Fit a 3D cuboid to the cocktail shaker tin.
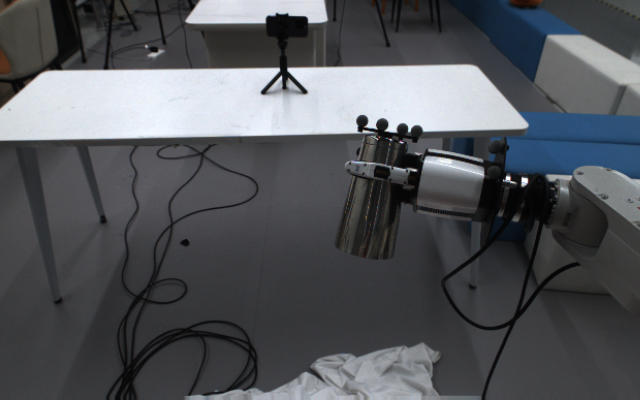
[{"bbox_3d":[0.085,-0.010,0.720,0.093,0.170,0.093,10,9,-2],"label":"cocktail shaker tin"}]
